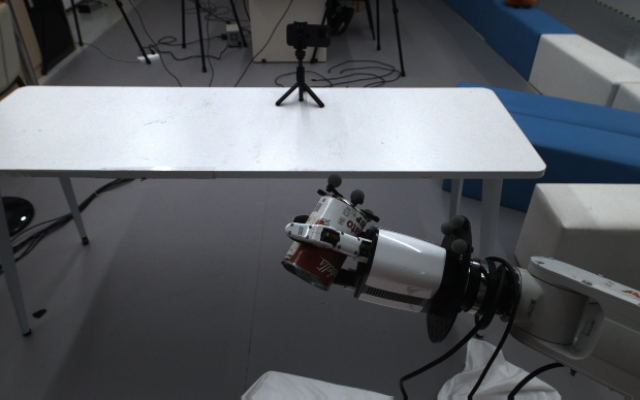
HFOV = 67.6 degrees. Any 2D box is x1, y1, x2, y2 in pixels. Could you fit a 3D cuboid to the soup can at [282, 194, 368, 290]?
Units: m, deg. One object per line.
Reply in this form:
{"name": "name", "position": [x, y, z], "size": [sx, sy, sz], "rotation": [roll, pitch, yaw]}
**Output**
{"name": "soup can", "position": [0.008, 0.052, 0.599], "size": [0.067, 0.067, 0.101], "rotation": [23, 72, 27]}
